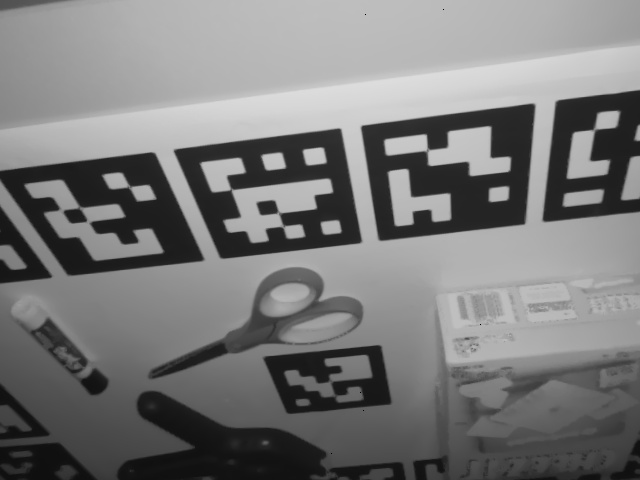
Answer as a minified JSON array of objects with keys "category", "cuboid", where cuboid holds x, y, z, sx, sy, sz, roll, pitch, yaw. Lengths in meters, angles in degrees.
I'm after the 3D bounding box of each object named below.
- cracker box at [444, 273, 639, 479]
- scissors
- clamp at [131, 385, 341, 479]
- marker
[{"category":"cracker box","cuboid":[0.190,0.127,0.580,0.164,0.072,0.212,-6,133,4]},{"category":"scissors","cuboid":[-0.052,0.078,0.561,0.200,0.016,0.088,-28,129,26]},{"category":"clamp","cuboid":[-0.073,0.214,0.695,0.204,0.037,0.163,16,132,-15]},{"category":"marker","cuboid":[-0.194,0.092,0.567,0.019,0.020,0.120,-10,134,8]}]
